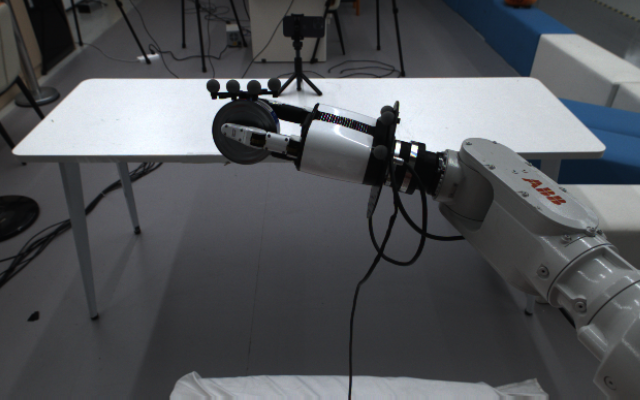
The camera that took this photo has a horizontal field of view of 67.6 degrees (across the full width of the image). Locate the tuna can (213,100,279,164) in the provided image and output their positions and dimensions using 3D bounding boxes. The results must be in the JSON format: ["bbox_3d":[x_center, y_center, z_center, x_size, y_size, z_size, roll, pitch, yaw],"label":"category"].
[{"bbox_3d":[-0.093,-0.092,0.641,0.085,0.085,0.034,4,18,3],"label":"tuna can"}]
